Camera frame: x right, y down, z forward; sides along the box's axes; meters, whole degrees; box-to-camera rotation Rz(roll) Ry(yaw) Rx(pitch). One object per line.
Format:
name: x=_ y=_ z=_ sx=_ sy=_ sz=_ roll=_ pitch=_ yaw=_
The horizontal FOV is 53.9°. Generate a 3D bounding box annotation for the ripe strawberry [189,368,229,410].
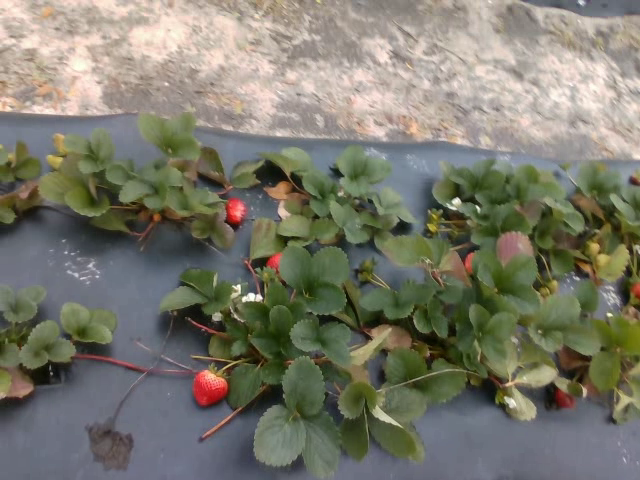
ripe strawberry: x=-0.181 y=0.241 z=0.996 sx=0.061 sy=0.065 sz=0.049 roll=24 pitch=-9 yaw=-18
